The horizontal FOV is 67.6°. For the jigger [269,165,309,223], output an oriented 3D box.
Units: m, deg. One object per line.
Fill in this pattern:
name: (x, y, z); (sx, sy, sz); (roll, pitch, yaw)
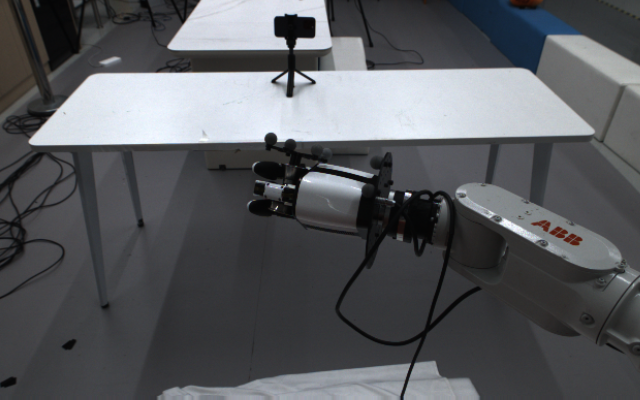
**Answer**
jigger: (-0.041, -0.015, 0.681); (0.043, 0.071, 0.043); (14, 1, 0)
